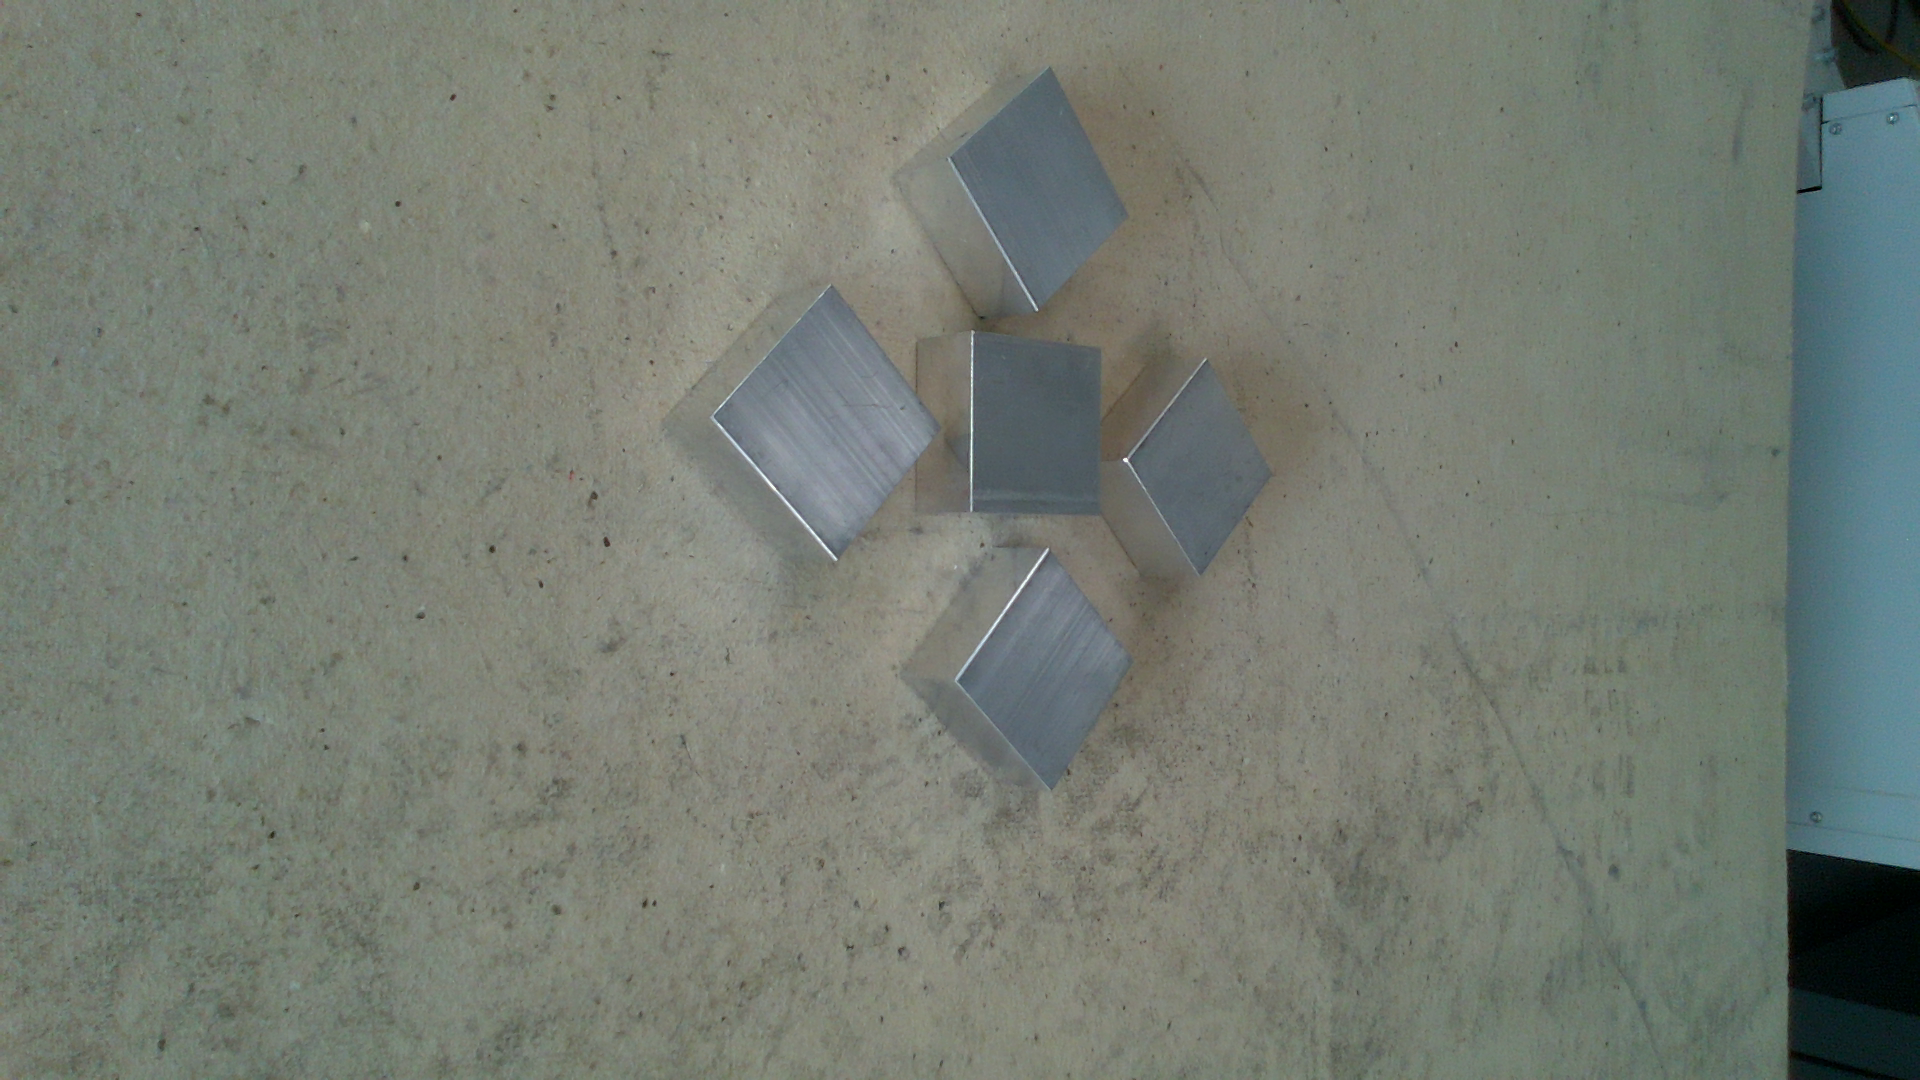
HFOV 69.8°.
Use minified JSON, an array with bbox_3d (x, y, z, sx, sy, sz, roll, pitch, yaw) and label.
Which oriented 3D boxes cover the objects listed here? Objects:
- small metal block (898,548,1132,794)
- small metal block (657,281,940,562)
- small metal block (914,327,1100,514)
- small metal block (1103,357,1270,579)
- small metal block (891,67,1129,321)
[{"bbox_3d":[0.017,0.038,0.404,0.050,0.025,0.050,52,59,-28],"label":"small metal block"},{"bbox_3d":[-0.040,-0.030,0.356,0.050,0.025,0.050,51,59,-28],"label":"small metal block"},{"bbox_3d":[0.014,-0.033,0.400,0.050,0.025,0.050,0,90,-39],"label":"small metal block"},{"bbox_3d":[0.069,-0.023,0.447,0.050,0.025,0.050,-51,120,-28],"label":"small metal block"},{"bbox_3d":[0.016,-0.100,0.401,0.050,0.025,0.050,-49,118,-29],"label":"small metal block"}]
